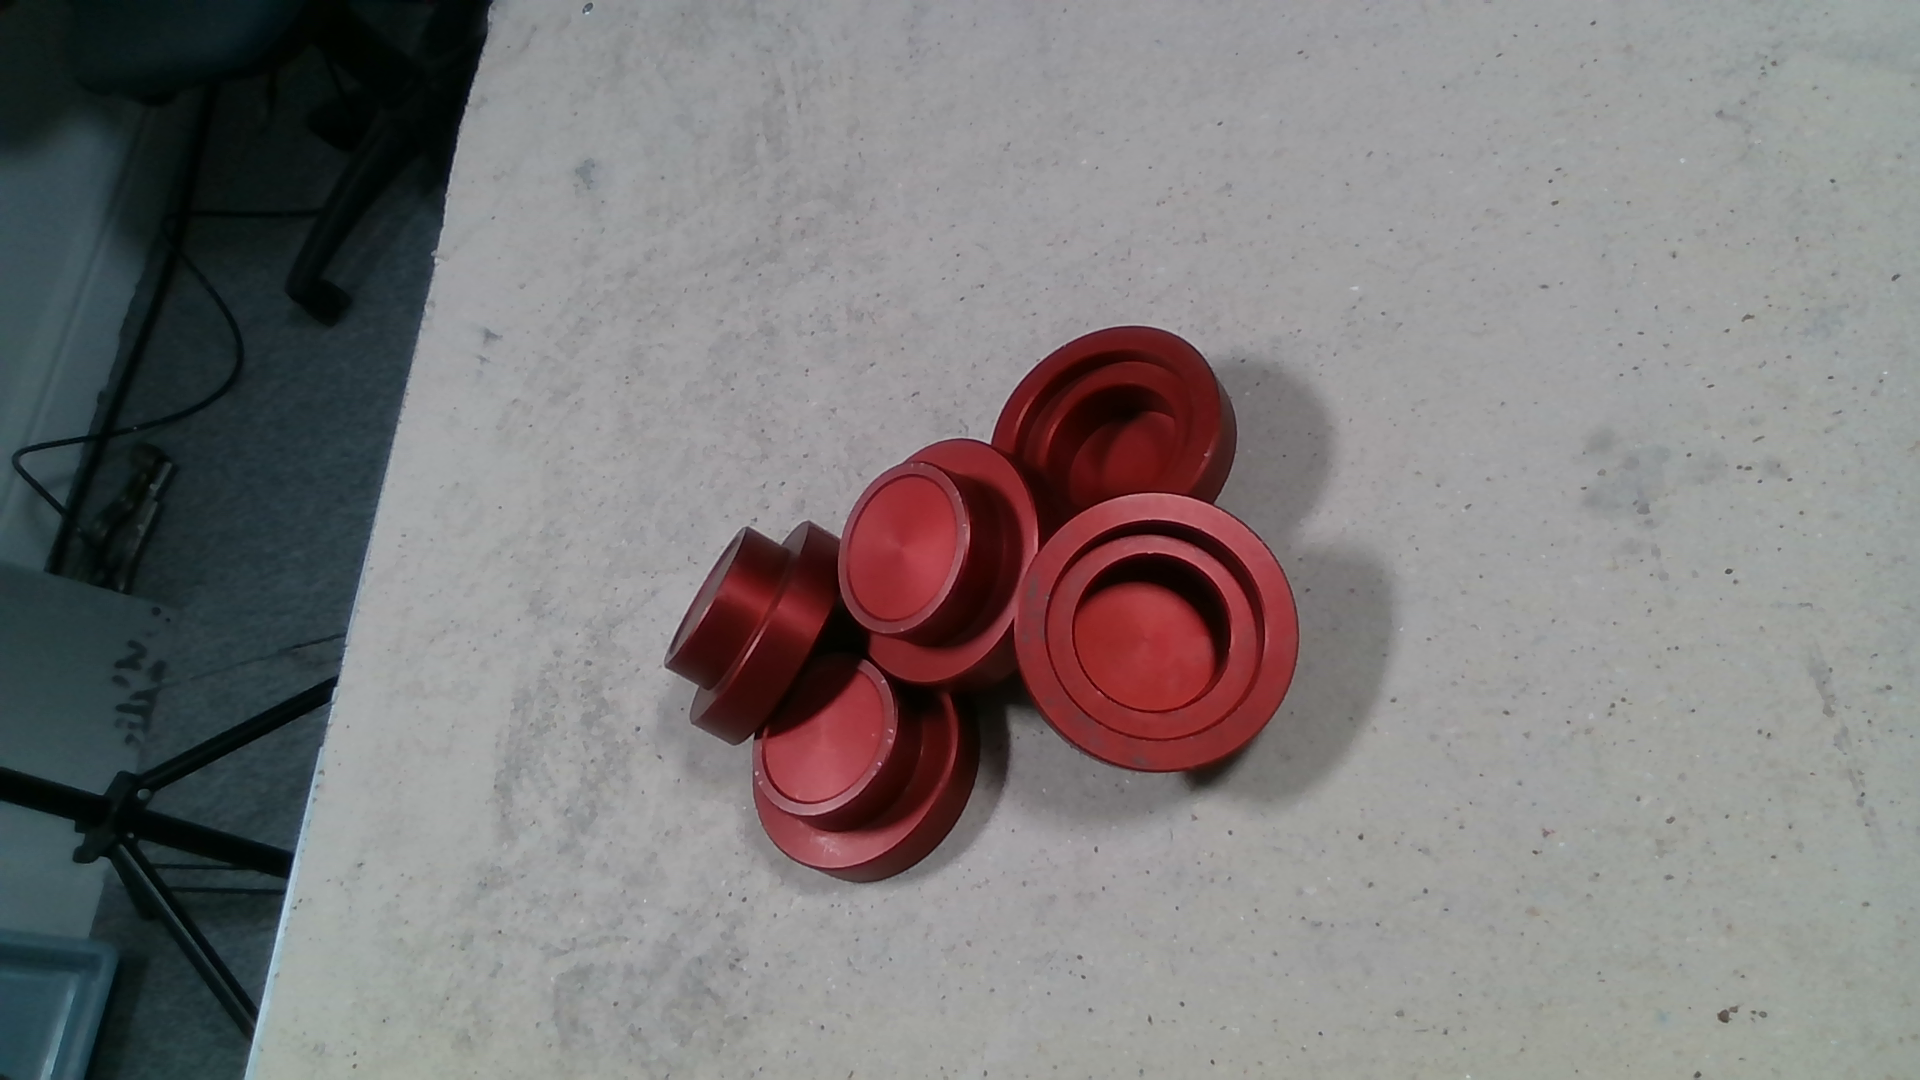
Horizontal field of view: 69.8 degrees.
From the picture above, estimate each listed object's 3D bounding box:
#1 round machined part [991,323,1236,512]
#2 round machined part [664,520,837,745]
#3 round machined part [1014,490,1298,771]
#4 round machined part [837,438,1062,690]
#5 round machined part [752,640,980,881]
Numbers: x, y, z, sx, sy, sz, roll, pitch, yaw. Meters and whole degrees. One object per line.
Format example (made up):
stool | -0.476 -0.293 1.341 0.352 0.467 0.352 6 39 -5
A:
round machined part | 0.064 -0.034 0.553 0.098 0.042 0.098 -14 59 25
round machined part | -0.090 0.033 0.580 0.098 0.042 0.098 -54 14 20
round machined part | 0.068 0.034 0.496 0.098 0.042 0.098 0 79 2
round machined part | -0.009 0.007 0.534 0.098 0.042 0.098 -14 68 36
round machined part | -0.045 0.084 0.557 0.098 0.042 0.098 -14 59 25
